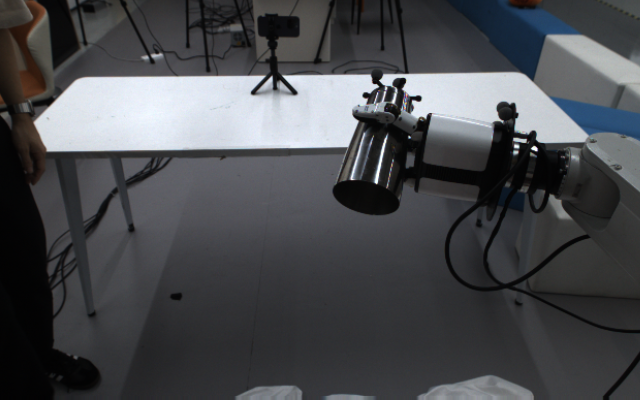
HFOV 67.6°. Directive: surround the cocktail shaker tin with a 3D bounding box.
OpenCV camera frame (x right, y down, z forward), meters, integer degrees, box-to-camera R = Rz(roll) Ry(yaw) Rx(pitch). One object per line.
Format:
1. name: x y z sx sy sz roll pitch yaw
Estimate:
1. cocktail shaker tin: 0.082 -0.075 0.680 0.093 0.093 0.170 11 64 13
